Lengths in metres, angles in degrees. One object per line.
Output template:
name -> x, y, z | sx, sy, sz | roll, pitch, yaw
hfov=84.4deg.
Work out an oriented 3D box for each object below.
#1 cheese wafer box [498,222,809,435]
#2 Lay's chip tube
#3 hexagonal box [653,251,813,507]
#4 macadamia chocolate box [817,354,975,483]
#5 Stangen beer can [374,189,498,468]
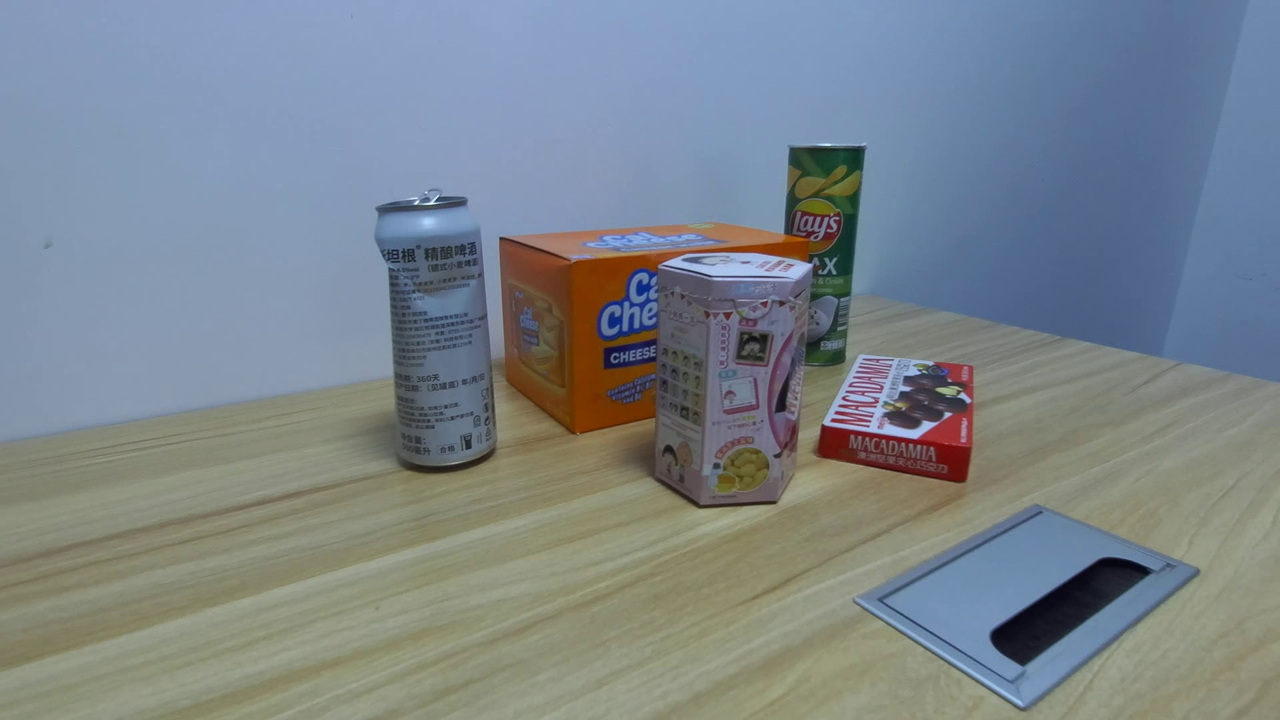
cheese wafer box -> 0.011, -0.039, 0.600 | 0.223, 0.129, 0.147 | -9, 20, -30
Lay's chip tube -> 0.169, -0.099, 0.667 | 0.071, 0.202, 0.071 | 0, 16, 0
hexagonal box -> 0.056, 0.009, 0.422 | 0.083, 0.136, 0.091 | 7, 19, 22
macadamia chocolate box -> 0.197, 0.036, 0.530 | 0.095, 0.027, 0.178 | 8, 19, 24
Stangen beer can -> -0.132, -0.018, 0.454 | 0.069, 0.173, 0.070 | 14, 21, 41
